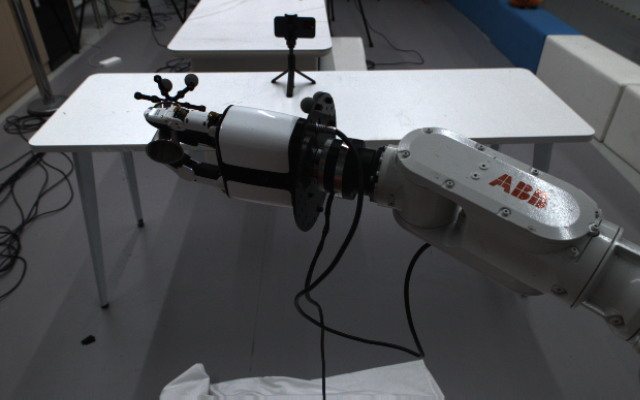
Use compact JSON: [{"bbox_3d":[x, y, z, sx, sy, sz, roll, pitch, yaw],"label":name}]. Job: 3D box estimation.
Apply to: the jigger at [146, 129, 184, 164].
[{"bbox_3d":[-0.190,-0.084,0.599,0.043,0.043,0.071,-2,56,-6],"label":"jigger"}]
